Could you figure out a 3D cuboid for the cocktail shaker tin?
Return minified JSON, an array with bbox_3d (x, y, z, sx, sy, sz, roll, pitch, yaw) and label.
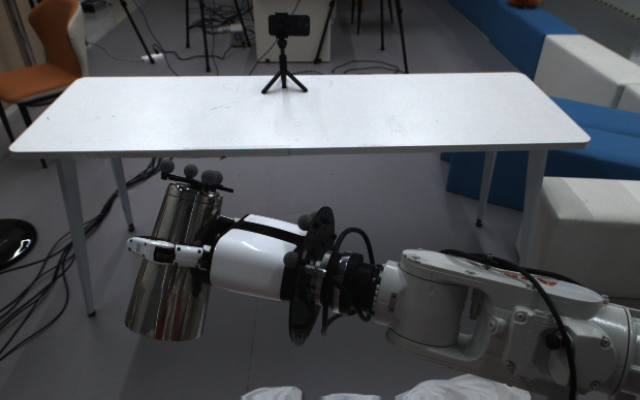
[{"bbox_3d":[-0.168,0.070,0.580,0.093,0.170,0.093,13,2,-1],"label":"cocktail shaker tin"}]
